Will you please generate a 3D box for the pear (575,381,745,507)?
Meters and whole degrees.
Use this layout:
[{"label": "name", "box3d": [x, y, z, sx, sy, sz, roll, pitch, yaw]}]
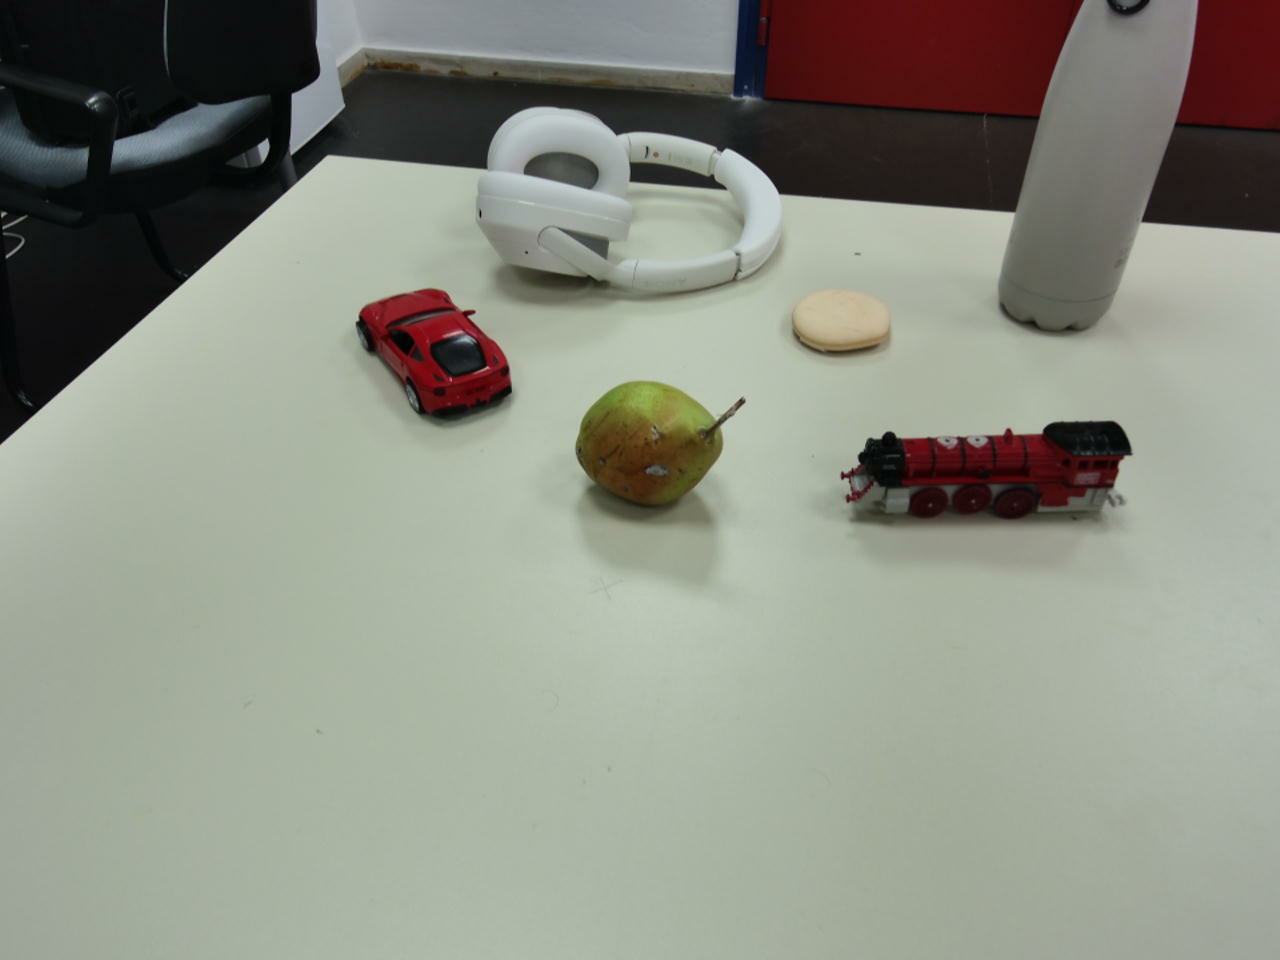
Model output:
[{"label": "pear", "box3d": [0.005, -0.021, 0.506, 0.068, 0.069, 0.070, -18, 42, -20]}]
